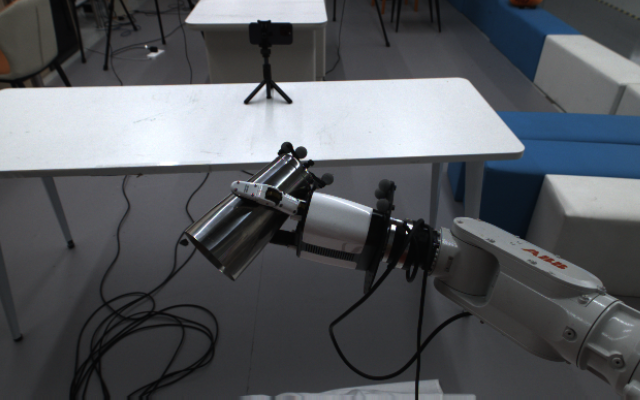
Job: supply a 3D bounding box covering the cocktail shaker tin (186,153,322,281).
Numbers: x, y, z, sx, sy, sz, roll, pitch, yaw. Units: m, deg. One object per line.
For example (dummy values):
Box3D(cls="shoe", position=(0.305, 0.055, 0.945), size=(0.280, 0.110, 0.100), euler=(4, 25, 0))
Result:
Box3D(cls="cocktail shaker tin", position=(-0.088, 0.012, 0.654), size=(0.093, 0.093, 0.170), euler=(32, 66, 35))
